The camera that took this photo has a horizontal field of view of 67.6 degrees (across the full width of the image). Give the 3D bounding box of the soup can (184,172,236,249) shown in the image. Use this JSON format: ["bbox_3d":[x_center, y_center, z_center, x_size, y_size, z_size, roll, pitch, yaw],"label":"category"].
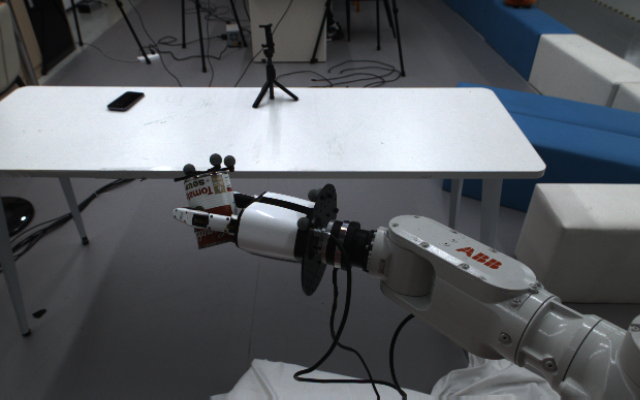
[{"bbox_3d":[-0.155,0.017,0.710,0.067,0.101,0.067,-14,-2,-1],"label":"soup can"}]
